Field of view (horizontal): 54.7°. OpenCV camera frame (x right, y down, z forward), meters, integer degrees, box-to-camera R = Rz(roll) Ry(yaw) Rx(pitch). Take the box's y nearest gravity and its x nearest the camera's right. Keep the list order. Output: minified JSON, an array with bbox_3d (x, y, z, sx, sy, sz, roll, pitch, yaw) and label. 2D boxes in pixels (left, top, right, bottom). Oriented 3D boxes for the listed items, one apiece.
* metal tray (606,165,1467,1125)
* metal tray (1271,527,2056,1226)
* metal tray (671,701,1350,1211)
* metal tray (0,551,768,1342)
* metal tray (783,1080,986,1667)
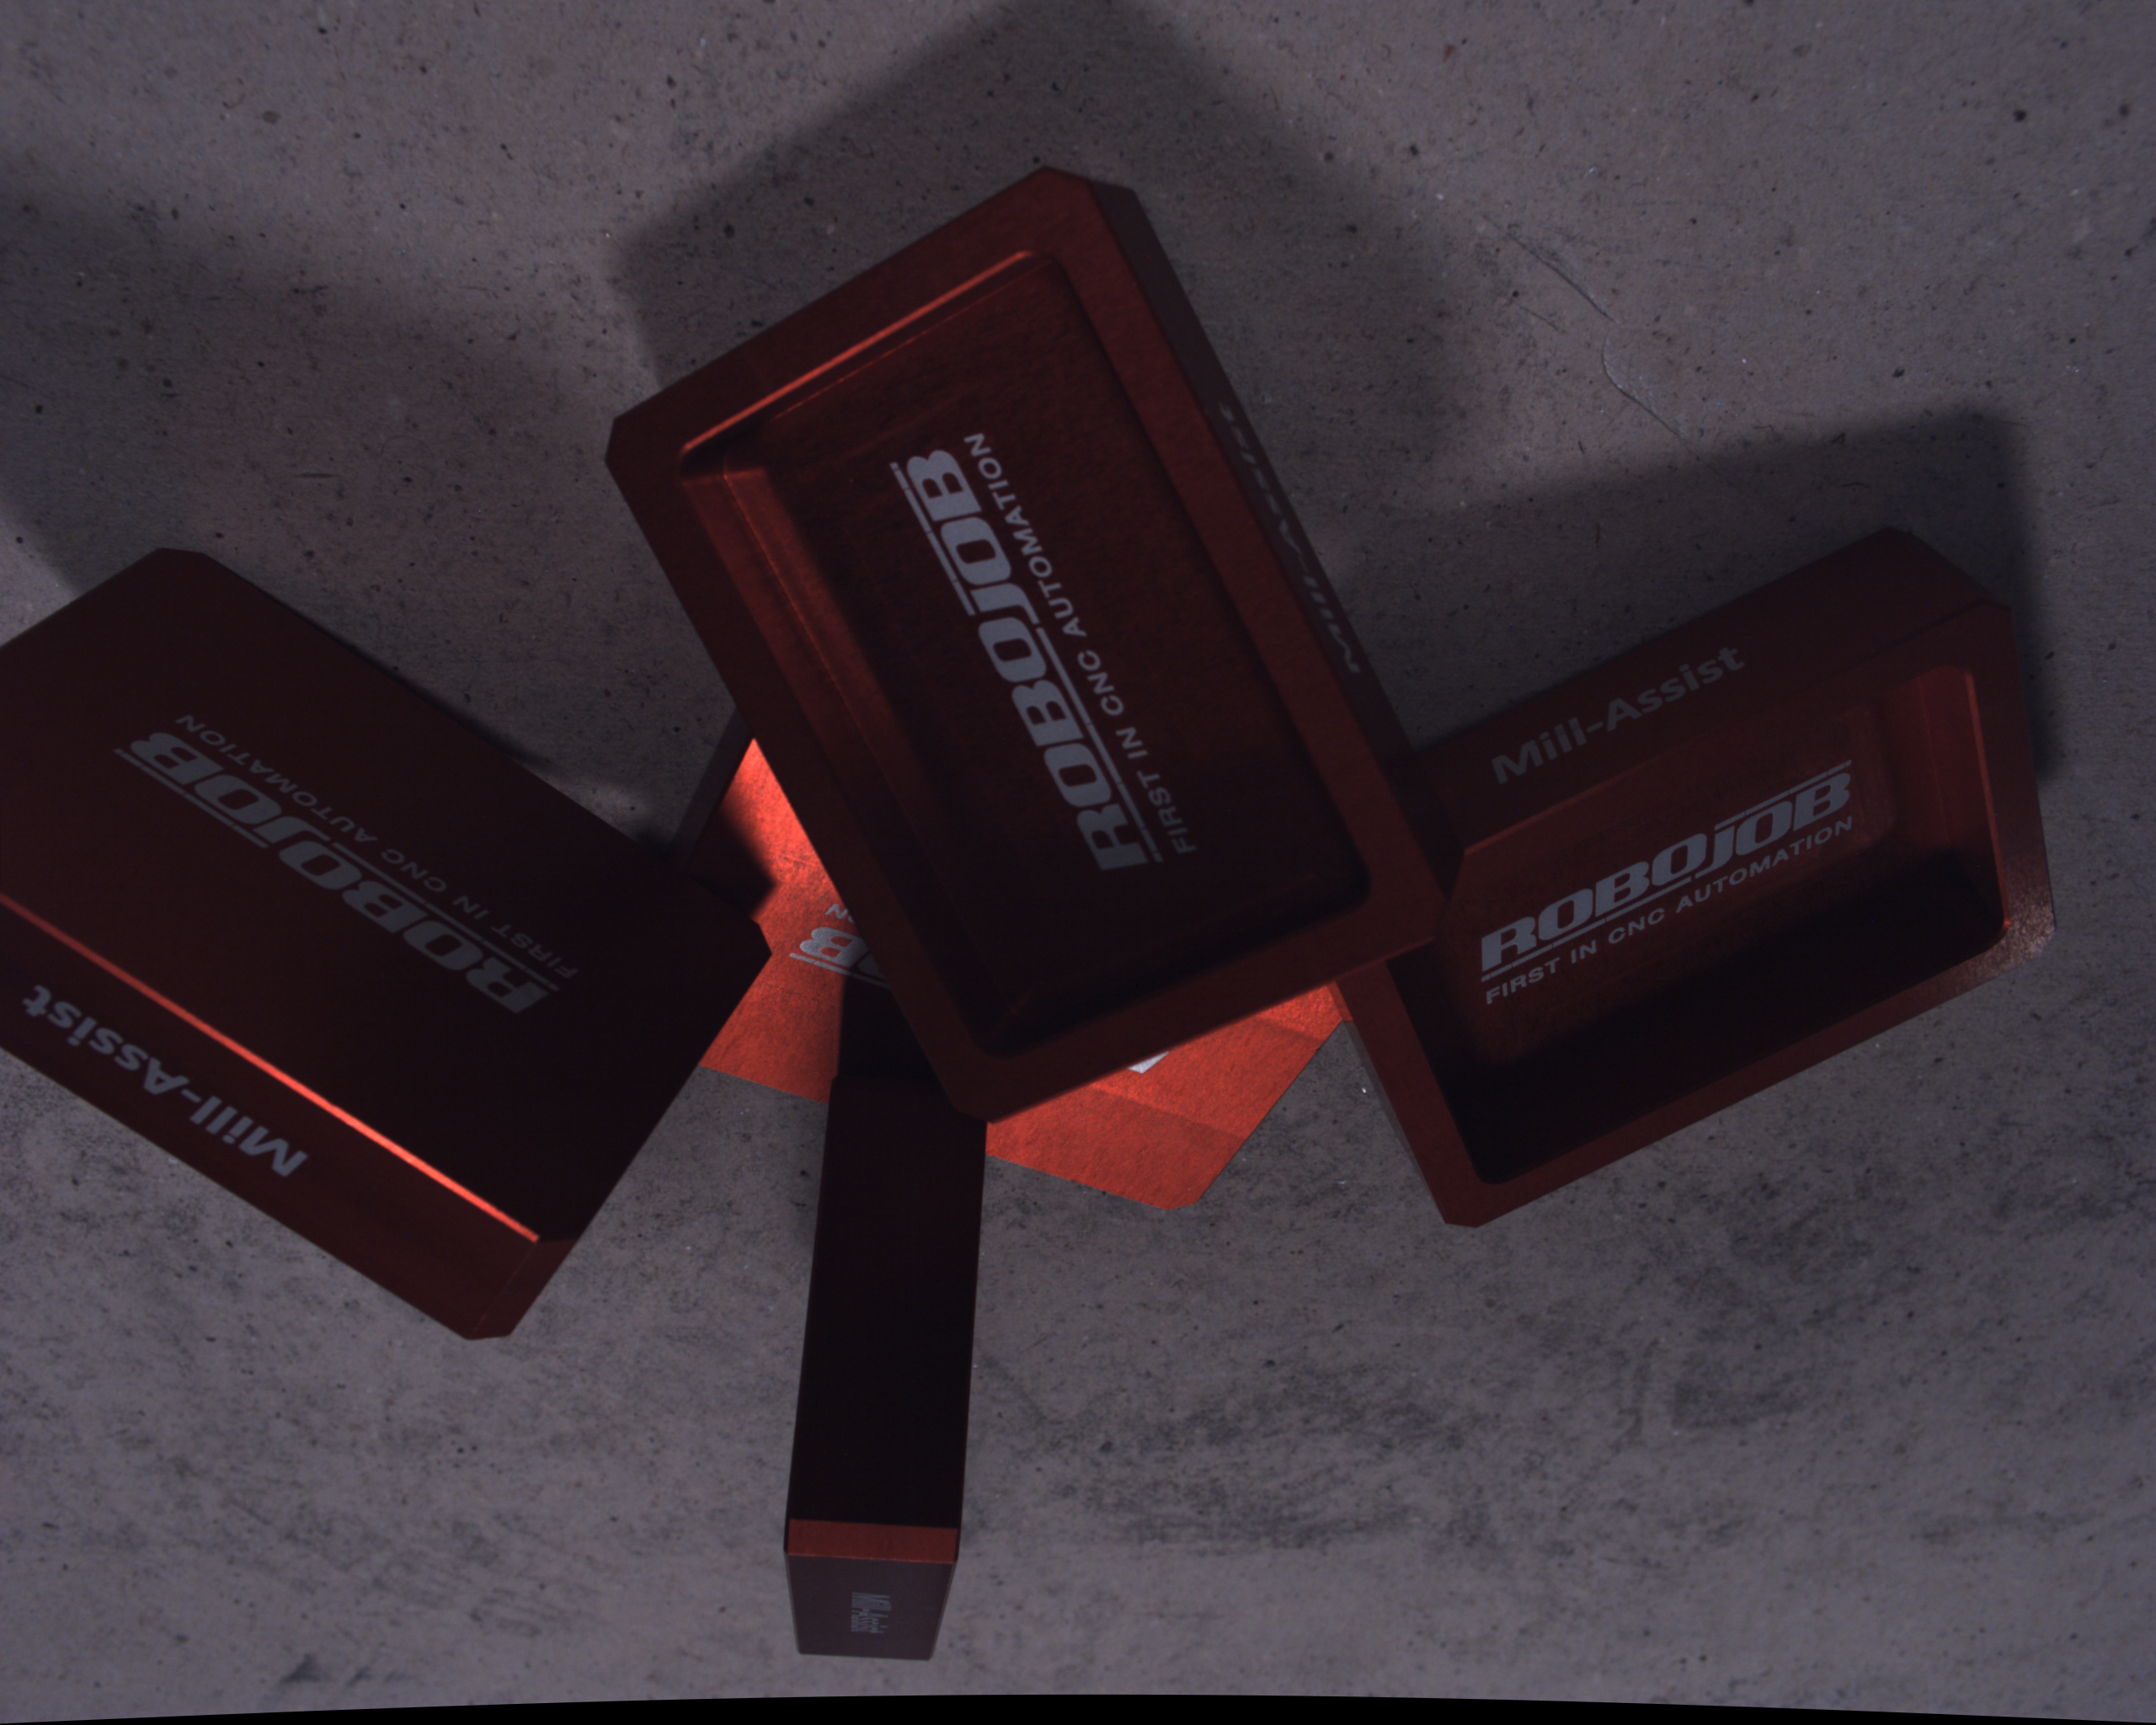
[{"bbox_3d":[-0.006,-0.033,0.339,0.090,0.030,0.130,-25,97,19],"label":"metal tray"},{"bbox_3d":[0.111,0.006,0.390,0.130,0.030,0.090,-26,127,2],"label":"metal tray"},{"bbox_3d":[-0.016,0.016,0.419,0.131,0.030,0.089,20,127,-17],"label":"metal tray"},{"bbox_3d":[-0.128,0.010,0.353,0.130,0.090,0.030,35,123,-6],"label":"metal tray"},{"bbox_3d":[-0.040,0.111,0.434,0.030,0.090,0.129,5,151,-4],"label":"metal tray"}]
